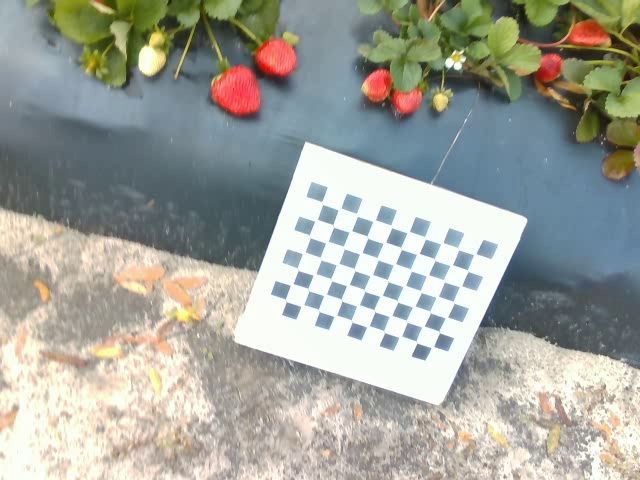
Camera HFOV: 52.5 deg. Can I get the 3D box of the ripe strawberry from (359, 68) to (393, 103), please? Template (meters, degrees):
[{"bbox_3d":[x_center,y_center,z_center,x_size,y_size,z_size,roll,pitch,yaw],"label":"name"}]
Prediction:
[{"bbox_3d":[0.066,-0.196,0.809,0.053,0.047,0.038,-15,25,-30],"label":"ripe strawberry"}]

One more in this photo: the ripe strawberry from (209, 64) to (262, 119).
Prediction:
[{"bbox_3d":[-0.100,-0.182,0.784,0.058,0.065,0.043,-39,-4,15],"label":"ripe strawberry"}]

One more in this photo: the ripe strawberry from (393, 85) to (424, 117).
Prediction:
[{"bbox_3d":[0.105,-0.176,0.802,0.043,0.041,0.049,14,43,-4],"label":"ripe strawberry"}]

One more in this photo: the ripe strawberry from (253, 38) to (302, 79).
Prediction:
[{"bbox_3d":[-0.053,-0.227,0.799,0.051,0.060,0.051,-45,-37,16],"label":"ripe strawberry"}]
